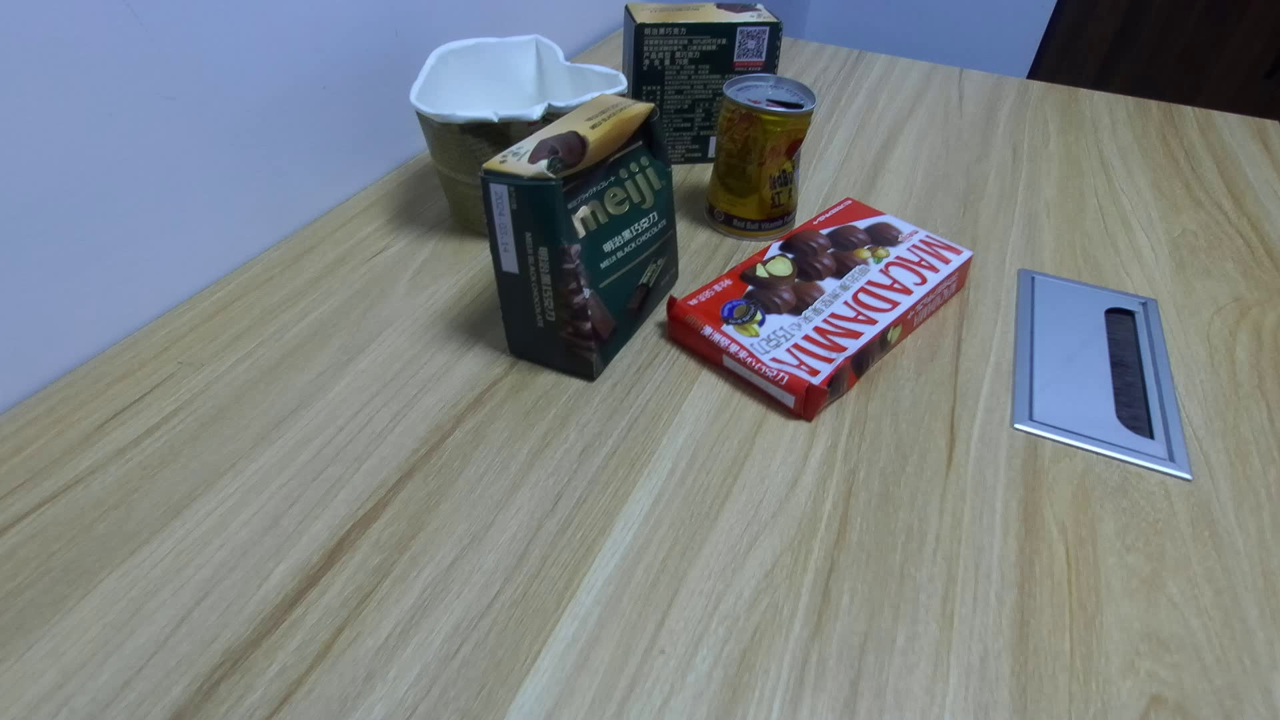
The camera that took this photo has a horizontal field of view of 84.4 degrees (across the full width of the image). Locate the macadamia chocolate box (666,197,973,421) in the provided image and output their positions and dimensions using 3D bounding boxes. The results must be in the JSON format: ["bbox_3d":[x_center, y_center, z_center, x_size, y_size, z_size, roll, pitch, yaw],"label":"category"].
[{"bbox_3d":[0.110,-0.039,0.416,0.105,0.028,0.183,34,50,30],"label":"macadamia chocolate box"}]

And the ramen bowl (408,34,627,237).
[{"bbox_3d":[-0.083,-0.144,0.465,0.134,0.097,0.113,-30,50,-33],"label":"ramen bowl"}]

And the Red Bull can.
[{"bbox_3d":[0.079,-0.134,0.469,0.072,0.092,0.072,2,42,-1],"label":"Red Bull can"}]

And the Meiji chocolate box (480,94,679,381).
[{"bbox_3d":[-0.025,-0.069,0.378,0.051,0.117,0.117,13,41,24],"label":"Meiji chocolate box"}]

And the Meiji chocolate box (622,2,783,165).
[{"bbox_3d":[0.044,-0.211,0.545,0.113,0.111,0.058,-5,38,-10],"label":"Meiji chocolate box"}]
